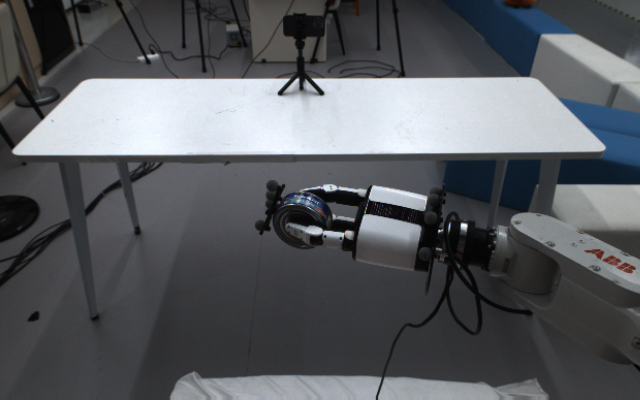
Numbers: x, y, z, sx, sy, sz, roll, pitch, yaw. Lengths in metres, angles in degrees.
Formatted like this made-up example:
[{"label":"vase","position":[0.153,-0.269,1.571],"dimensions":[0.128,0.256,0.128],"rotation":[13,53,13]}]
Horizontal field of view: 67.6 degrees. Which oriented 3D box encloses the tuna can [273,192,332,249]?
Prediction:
[{"label":"tuna can","position":[-0.024,0.034,0.715],"dimensions":[0.085,0.085,0.034],"rotation":[10,34,11]}]
